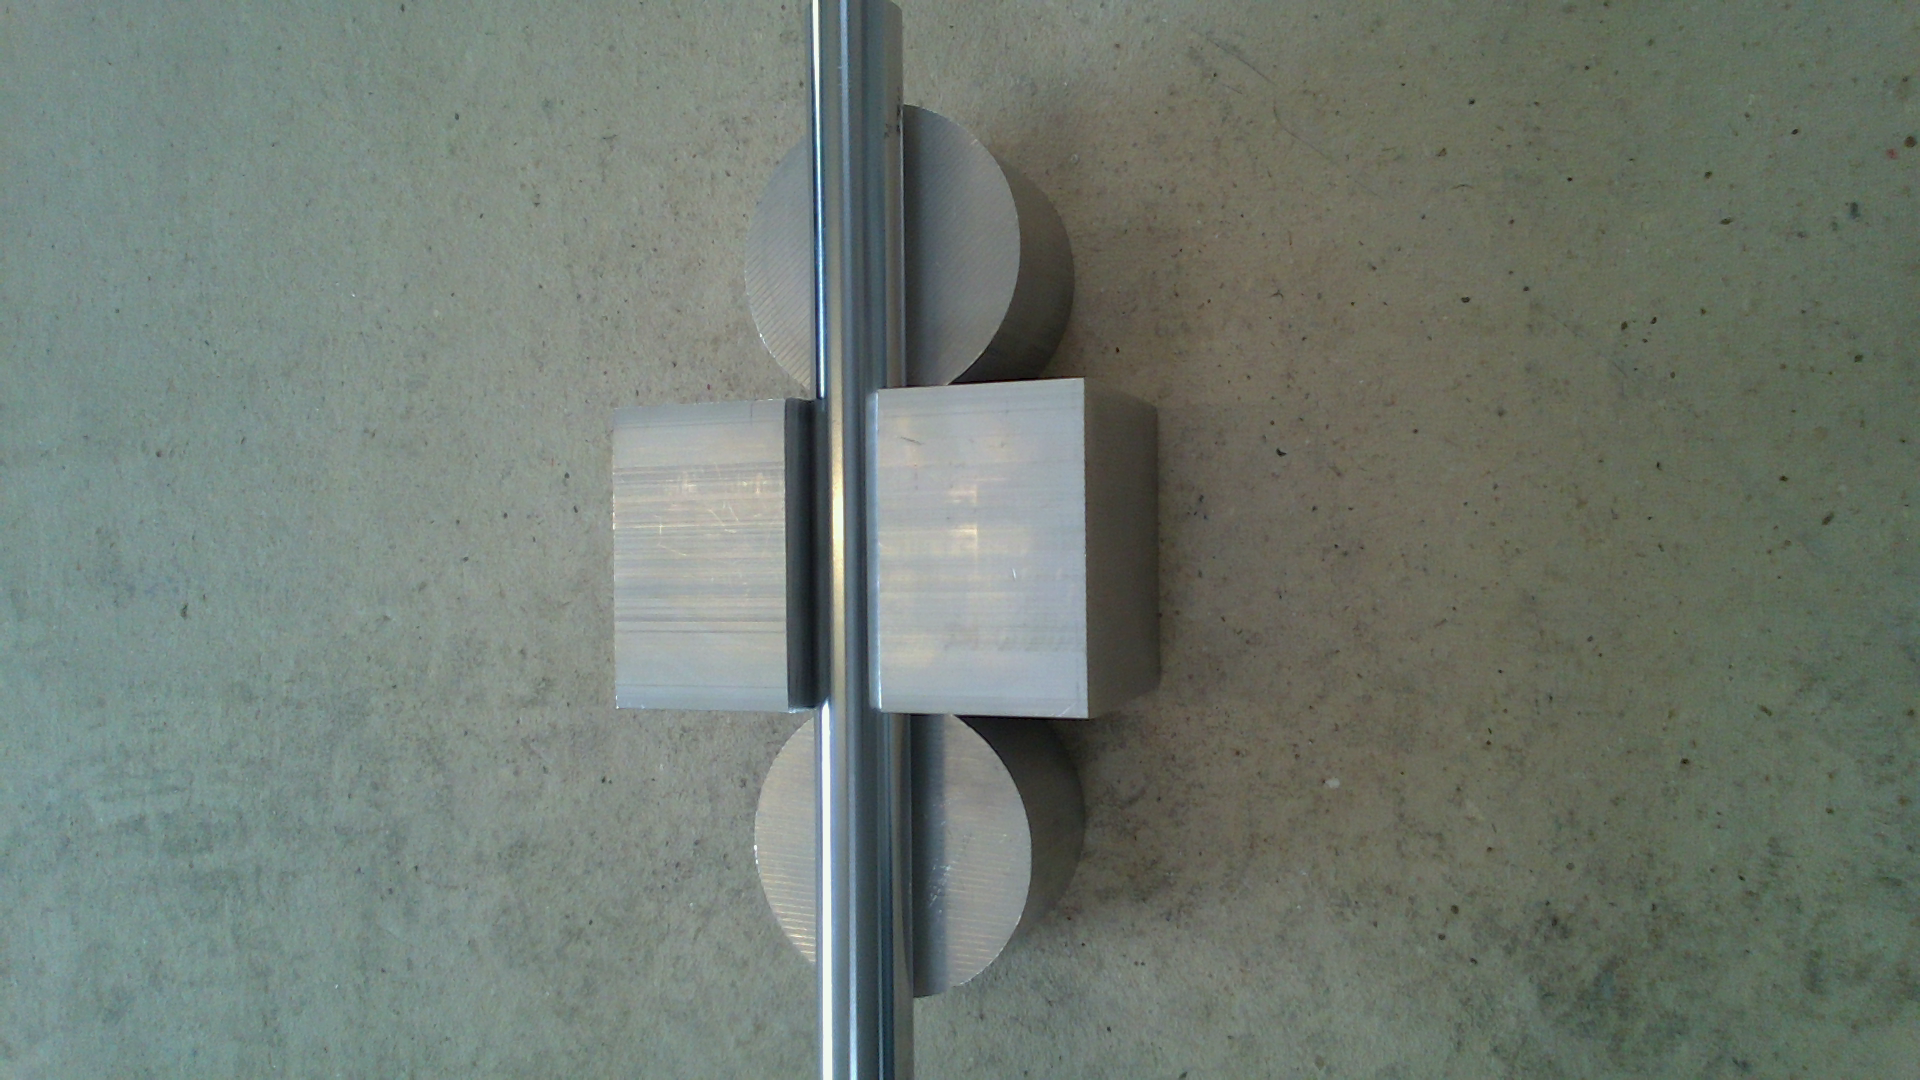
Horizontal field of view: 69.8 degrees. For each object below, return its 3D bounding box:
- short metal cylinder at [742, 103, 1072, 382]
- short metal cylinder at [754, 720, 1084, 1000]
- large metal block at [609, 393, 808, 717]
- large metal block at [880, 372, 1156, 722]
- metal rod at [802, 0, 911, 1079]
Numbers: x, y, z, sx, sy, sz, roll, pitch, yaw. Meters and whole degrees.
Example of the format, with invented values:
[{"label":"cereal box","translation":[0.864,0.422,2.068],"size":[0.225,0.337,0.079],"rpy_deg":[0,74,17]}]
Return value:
[{"label":"short metal cylinder","translation":[-0.014,-0.075,0.387],"size":[0.080,0.050,0.080],"rpy_deg":[0,89,20]},{"label":"short metal cylinder","translation":[-0.010,0.082,0.387],"size":[0.080,0.050,0.080],"rpy_deg":[0,89,20]},{"label":"large metal block","translation":[-0.053,0.004,0.386],"size":[0.050,0.080,0.080],"rpy_deg":[-1,89,20]},{"label":"large metal block","translation":[0.018,0.002,0.360],"size":[0.050,0.080,0.080],"rpy_deg":[-1,89,20]},{"label":"metal rod","translation":[-0.026,0.015,0.352],"size":[0.025,0.025,0.300],"rpy_deg":[-1,90,20]}]
